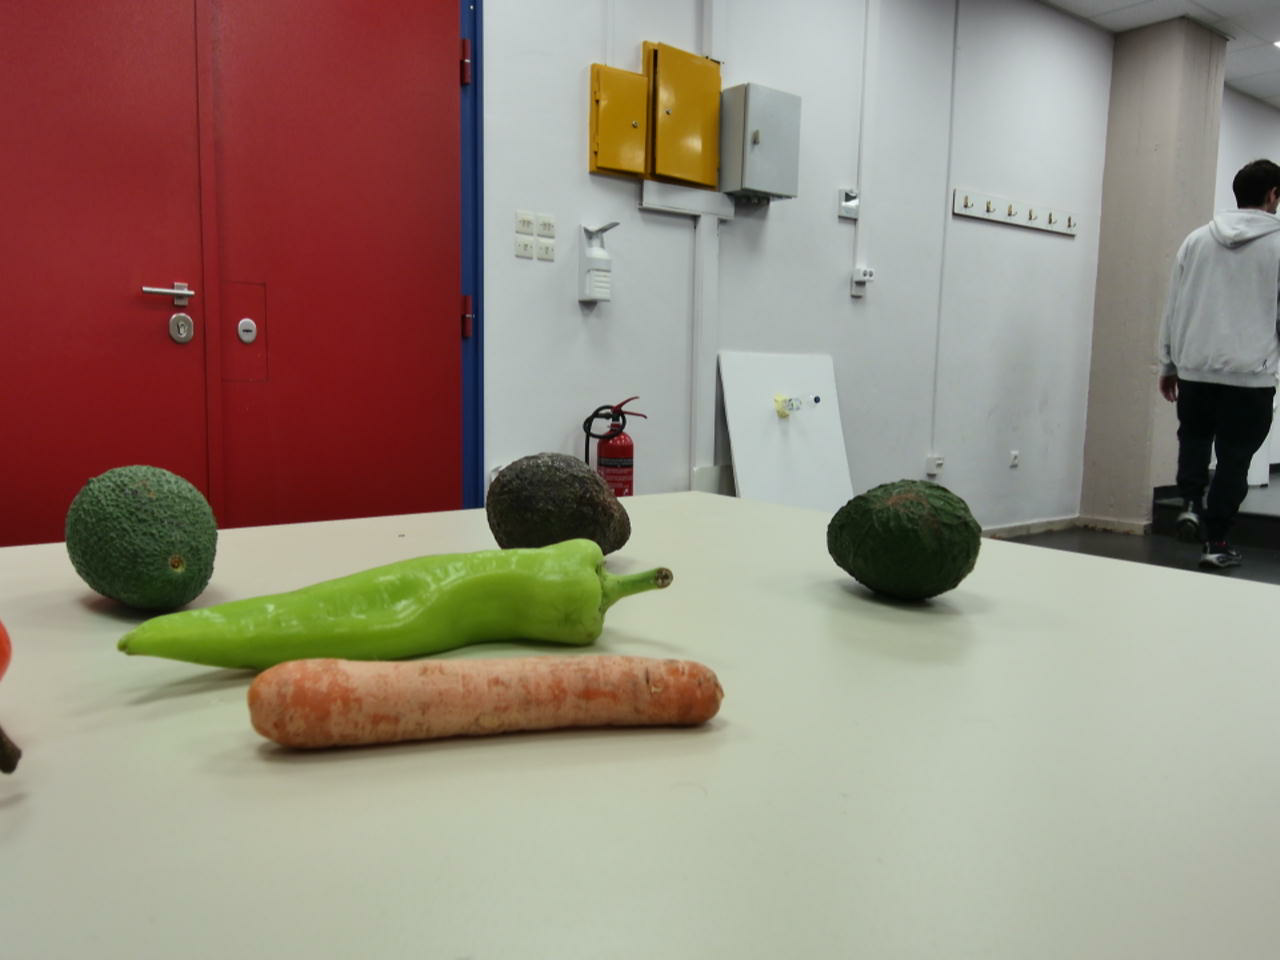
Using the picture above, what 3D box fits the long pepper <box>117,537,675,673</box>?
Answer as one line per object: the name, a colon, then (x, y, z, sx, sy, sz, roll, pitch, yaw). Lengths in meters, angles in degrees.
long pepper: (-0.090, 0.051, 0.407, 0.204, 0.045, 0.065, -2, 4, -22)
